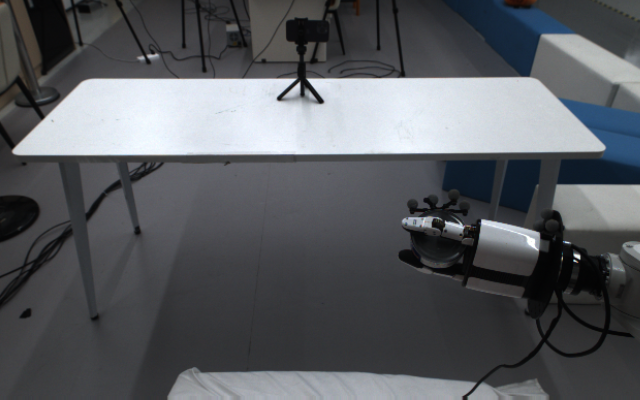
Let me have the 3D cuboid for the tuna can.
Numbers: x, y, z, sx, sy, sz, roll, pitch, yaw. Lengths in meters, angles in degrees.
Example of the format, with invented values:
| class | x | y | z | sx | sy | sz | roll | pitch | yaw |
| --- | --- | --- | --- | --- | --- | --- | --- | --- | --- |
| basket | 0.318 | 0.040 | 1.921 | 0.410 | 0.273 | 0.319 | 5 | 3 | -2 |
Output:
| class | x | y | z | sx | sy | sz | roll | pitch | yaw |
| --- | --- | --- | --- | --- | --- | --- | --- | --- | --- |
| tuna can | 0.181 | 0.058 | 0.738 | 0.085 | 0.034 | 0.085 | -4 | 61 | 7 |
